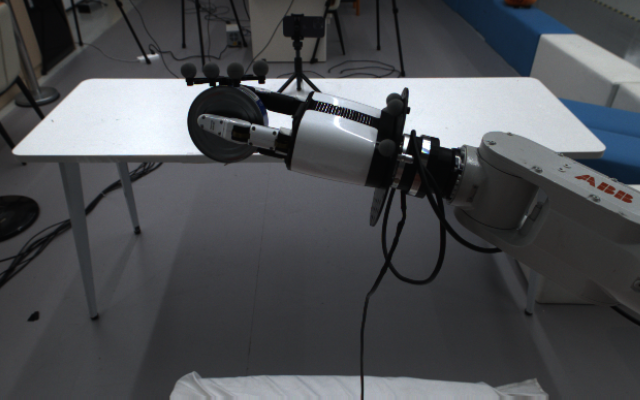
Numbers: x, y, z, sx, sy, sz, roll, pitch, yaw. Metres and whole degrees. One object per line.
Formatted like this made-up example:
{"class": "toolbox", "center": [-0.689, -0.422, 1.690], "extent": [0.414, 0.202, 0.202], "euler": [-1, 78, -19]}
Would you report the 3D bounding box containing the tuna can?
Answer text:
{"class": "tuna can", "center": [-0.099, -0.087, 0.546], "extent": [0.085, 0.085, 0.034], "euler": [4, 18, 3]}
